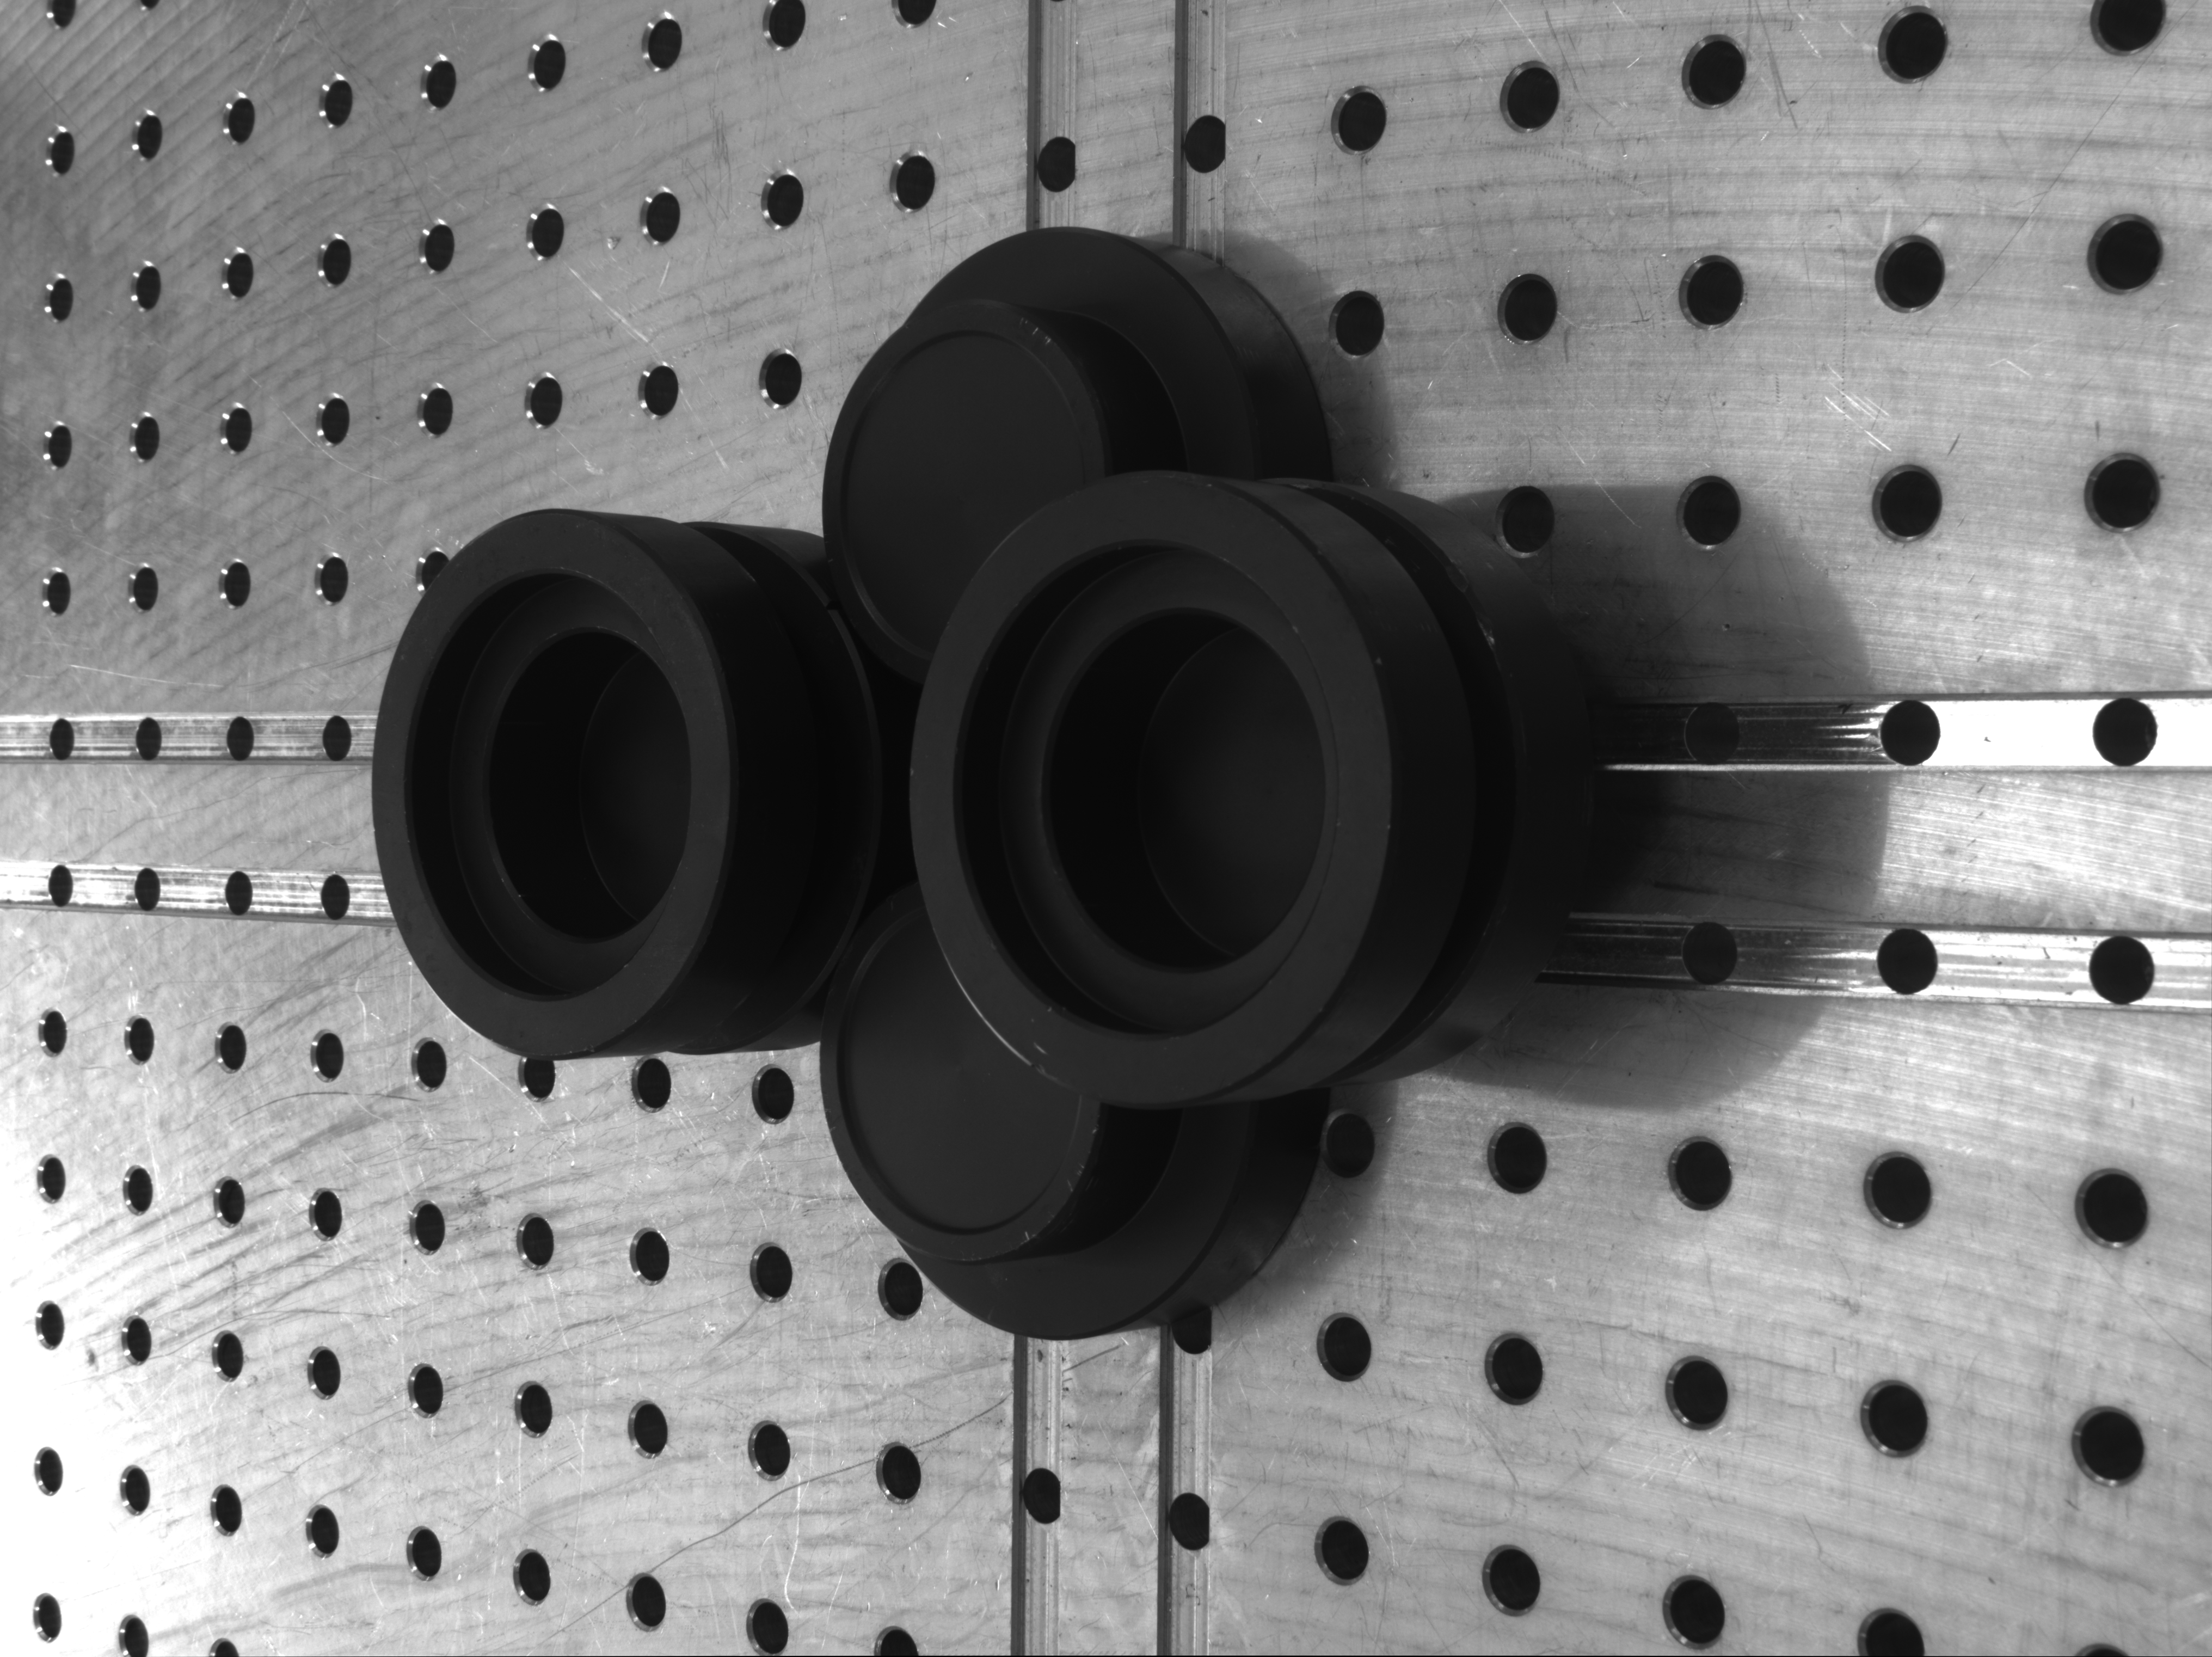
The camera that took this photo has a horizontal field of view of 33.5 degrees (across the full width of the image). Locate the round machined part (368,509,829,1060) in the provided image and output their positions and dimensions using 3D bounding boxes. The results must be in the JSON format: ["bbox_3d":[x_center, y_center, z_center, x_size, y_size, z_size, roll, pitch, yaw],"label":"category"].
[{"bbox_3d":[-0.087,-0.008,0.669,0.098,0.042,0.098,0,90,40],"label":"round machined part"}]

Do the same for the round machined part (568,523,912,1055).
[{"bbox_3d":[-0.064,-0.007,0.691,0.098,0.042,0.098,0,90,40],"label":"round machined part"}]

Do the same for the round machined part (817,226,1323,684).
[{"bbox_3d":[-0.013,-0.057,0.648,0.098,0.042,0.098,0,90,40],"label":"round machined part"}]

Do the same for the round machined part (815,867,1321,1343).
[{"bbox_3d":[-0.013,0.042,0.648,0.098,0.042,0.098,0,90,40],"label":"round machined part"}]

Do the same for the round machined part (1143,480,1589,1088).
[{"bbox_3d":[0.039,-0.007,0.604,0.098,0.042,0.098,0,90,40],"label":"round machined part"}]

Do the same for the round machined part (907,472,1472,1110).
[{"bbox_3d":[0.018,-0.006,0.580,0.098,0.042,0.098,0,90,40],"label":"round machined part"}]
